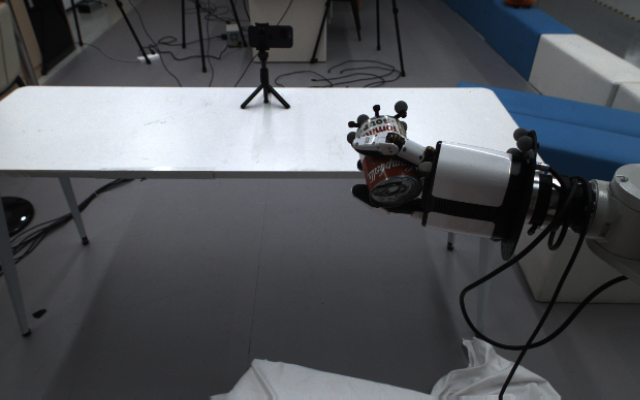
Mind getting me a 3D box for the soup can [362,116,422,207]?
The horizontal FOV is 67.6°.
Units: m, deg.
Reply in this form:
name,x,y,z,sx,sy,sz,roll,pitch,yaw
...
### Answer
name,x,y,z,sx,sy,sz,roll,pitch,yaw
soup can,0.088,-0.051,0.628,0.067,0.067,0.101,-5,57,-10
